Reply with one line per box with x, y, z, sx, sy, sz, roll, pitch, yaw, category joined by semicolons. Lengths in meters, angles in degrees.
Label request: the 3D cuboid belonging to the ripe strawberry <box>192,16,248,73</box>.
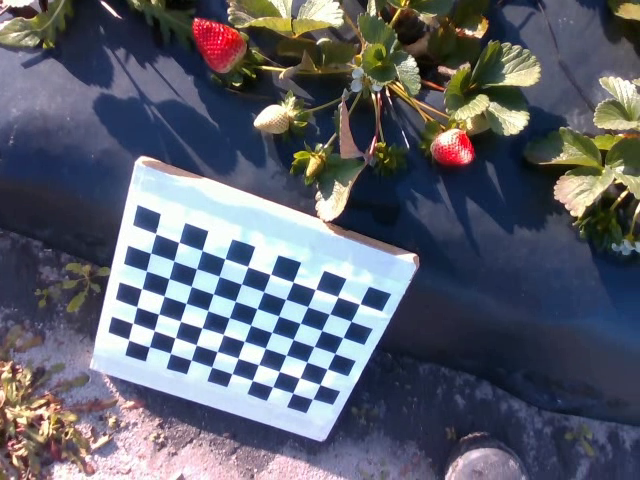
-0.080;-0.156;0.490;0.043;0.036;0.053;-37;-61;24;ripe strawberry

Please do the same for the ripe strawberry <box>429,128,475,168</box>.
0.111;-0.073;0.510;0.042;0.037;0.045;-11;33;-22;ripe strawberry
